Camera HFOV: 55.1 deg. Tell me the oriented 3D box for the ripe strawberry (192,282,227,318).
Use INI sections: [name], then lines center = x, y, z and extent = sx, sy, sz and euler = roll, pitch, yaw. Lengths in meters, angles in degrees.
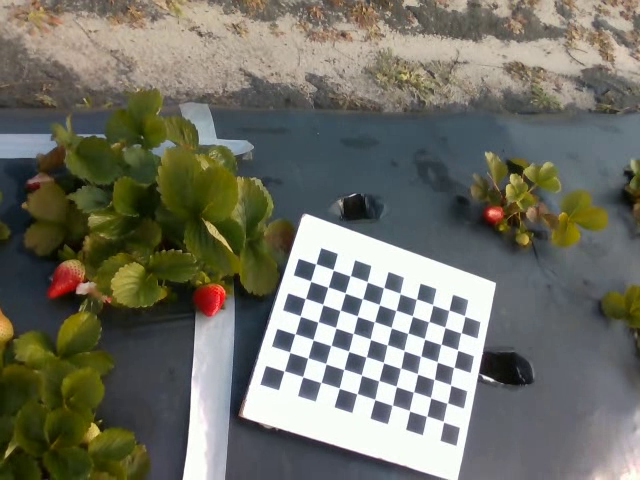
[ripe strawberry]
center = -0.124, 0.071, 0.692
extent = 0.050, 0.055, 0.036
euler = 16, -37, -17
